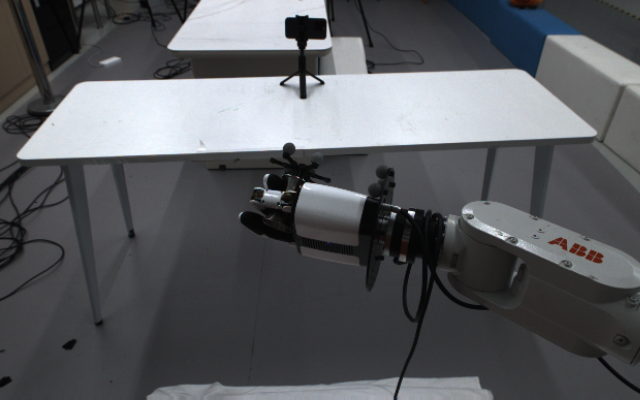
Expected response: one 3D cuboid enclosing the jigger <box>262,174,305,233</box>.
[{"bbox_3d":[-0.044,0.003,0.647,0.043,0.043,0.071,15,71,18],"label":"jigger"}]
